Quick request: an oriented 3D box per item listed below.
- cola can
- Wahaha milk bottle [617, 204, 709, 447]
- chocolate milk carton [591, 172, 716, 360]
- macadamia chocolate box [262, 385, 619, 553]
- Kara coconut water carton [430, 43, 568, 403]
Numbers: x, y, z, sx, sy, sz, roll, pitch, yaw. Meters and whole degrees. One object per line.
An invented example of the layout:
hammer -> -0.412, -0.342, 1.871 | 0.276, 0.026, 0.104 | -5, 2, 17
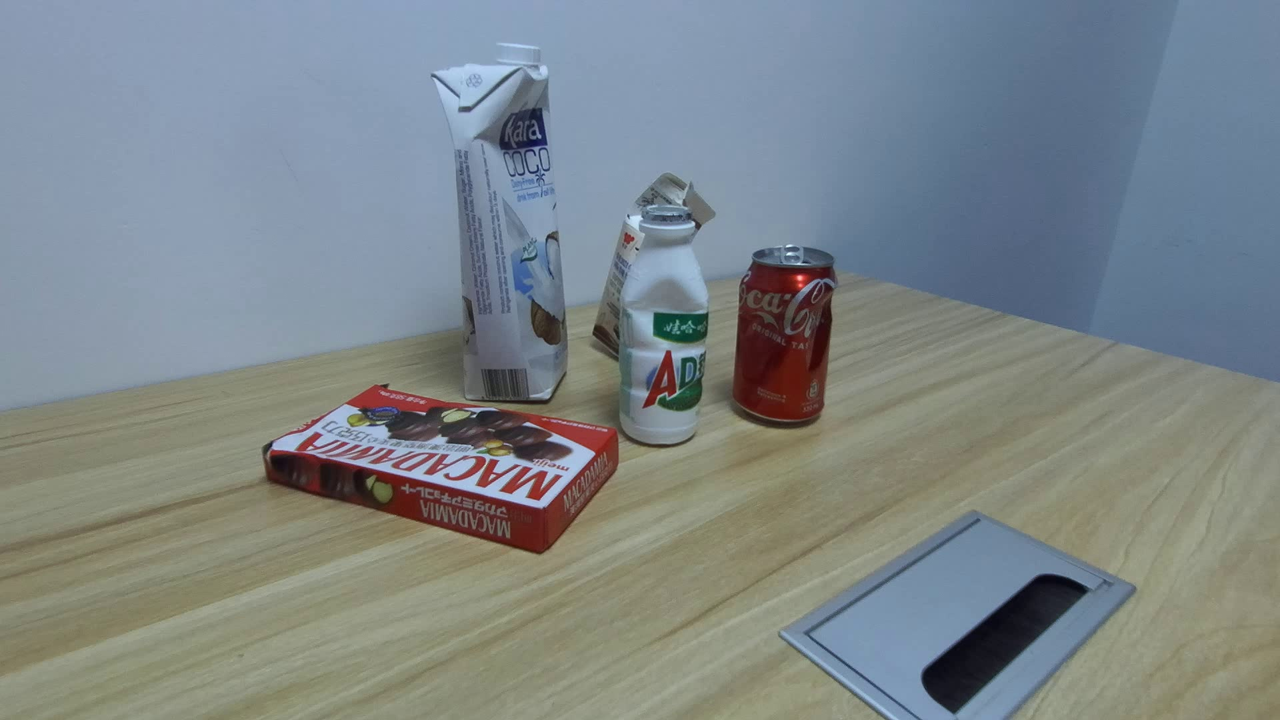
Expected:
cola can -> 0.100, -0.018, 0.488 | 0.066, 0.117, 0.066 | -19, 29, -40
Wahaha milk bottle -> 0.014, -0.020, 0.442 | 0.056, 0.147, 0.056 | 3, 21, -1
chocolate milk carton -> 0.019, -0.073, 0.583 | 0.090, 0.155, 0.076 | 1, 19, -44
macadamia chocolate box -> -0.113, 0.055, 0.412 | 0.182, 0.028, 0.106 | 9, 22, 19
Kara coconut water carton -> -0.092, -0.092, 0.499 | 0.069, 0.238, 0.115 | 2, 18, 6
